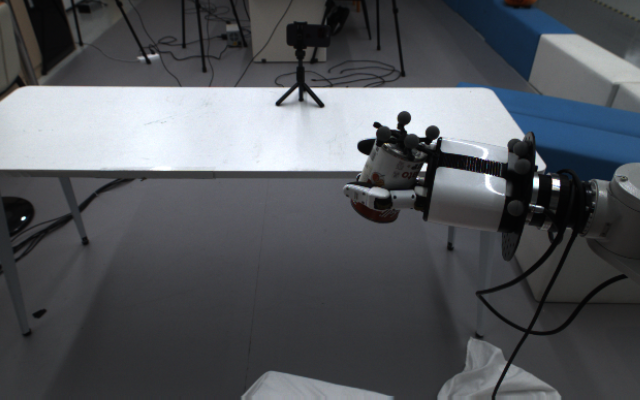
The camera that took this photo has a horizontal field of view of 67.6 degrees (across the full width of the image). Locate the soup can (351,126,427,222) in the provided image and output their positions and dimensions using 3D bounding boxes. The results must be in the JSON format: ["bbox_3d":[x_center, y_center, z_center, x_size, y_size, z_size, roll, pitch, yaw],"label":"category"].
[{"bbox_3d":[0.088,-0.030,0.617,0.067,0.101,0.067,14,35,-10],"label":"soup can"}]
